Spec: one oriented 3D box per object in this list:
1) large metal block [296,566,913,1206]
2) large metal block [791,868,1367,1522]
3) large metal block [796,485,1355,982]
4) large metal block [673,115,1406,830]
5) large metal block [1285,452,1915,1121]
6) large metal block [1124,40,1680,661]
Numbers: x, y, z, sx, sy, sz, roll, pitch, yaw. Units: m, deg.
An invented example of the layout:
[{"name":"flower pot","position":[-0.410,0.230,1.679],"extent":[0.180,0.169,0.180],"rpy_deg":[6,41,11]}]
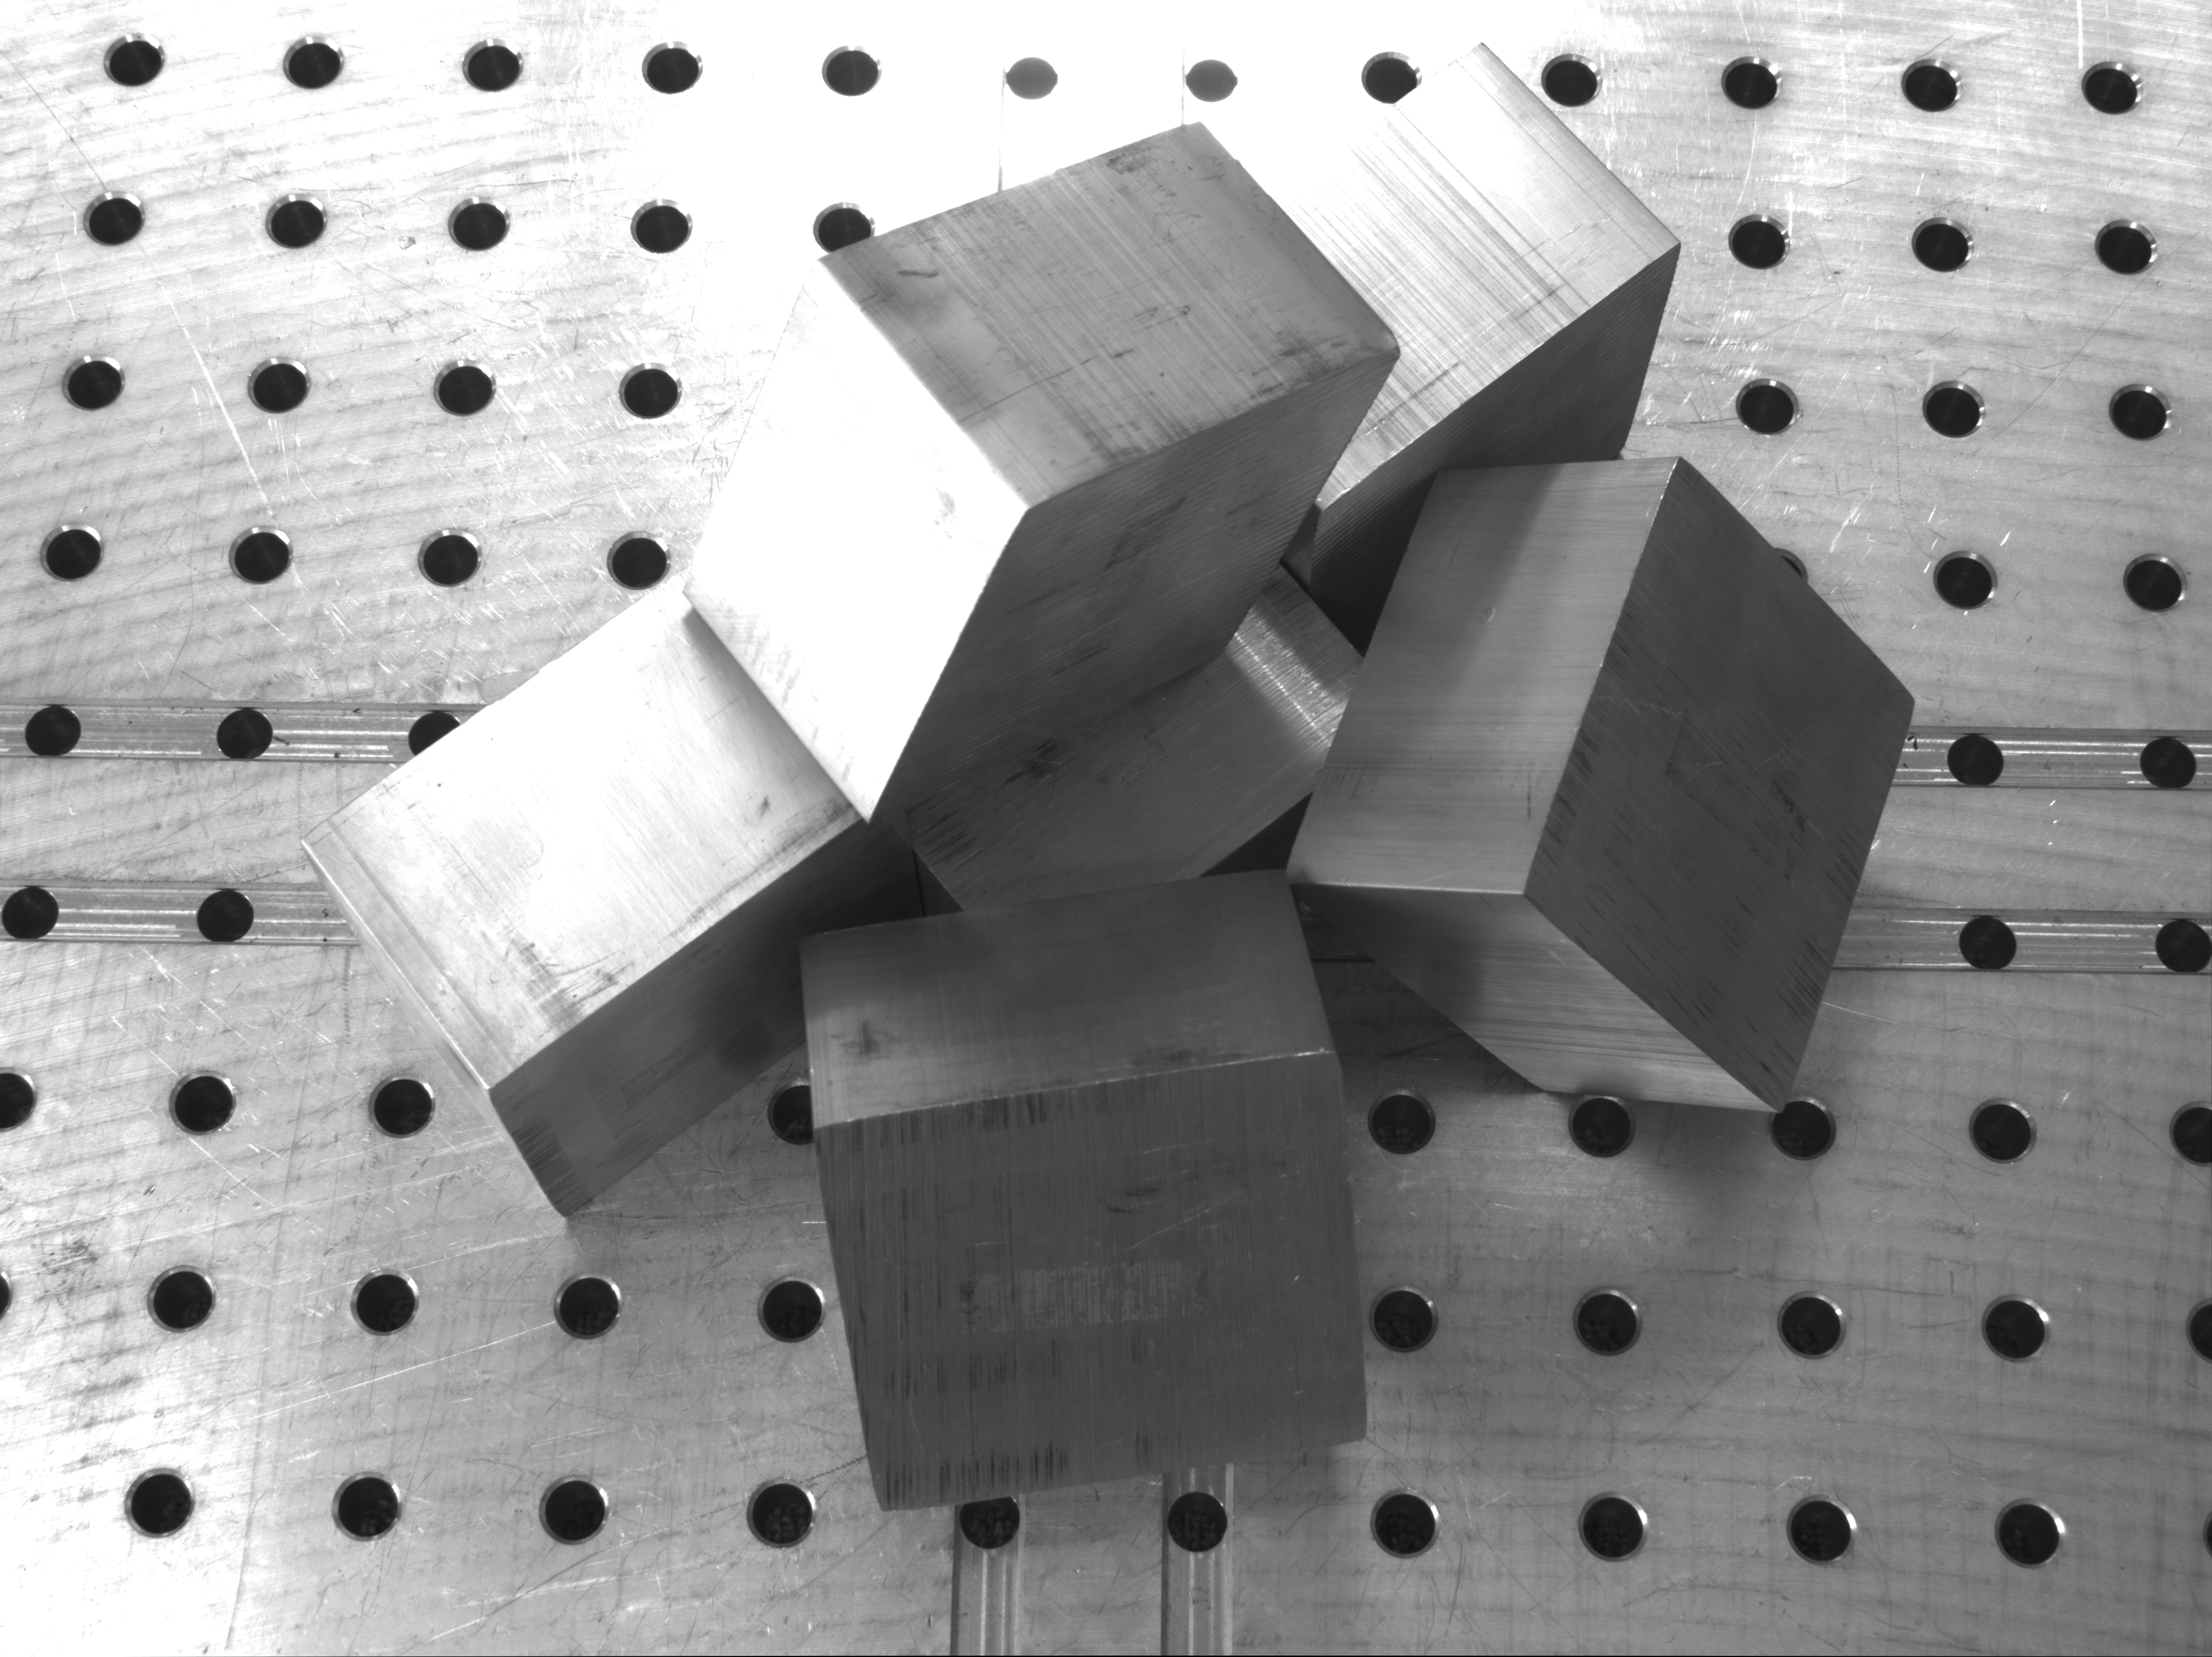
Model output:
[{"name":"large metal block","position":[-0.080,0.010,0.614],"extent":[0.080,0.080,0.050],"rpy_deg":[-36,74,-12]},{"name":"large metal block","position":[-0.004,0.059,0.590],"extent":[0.080,0.080,0.050],"rpy_deg":[-8,33,-3]},{"name":"large metal block","position":[-0.005,-0.015,0.642],"extent":[0.080,0.050,0.080],"rpy_deg":[-37,74,-12]},{"name":"large metal block","position":[-0.012,-0.056,0.572],"extent":[0.080,0.080,0.050],"rpy_deg":[-27,70,-36]},{"name":"large metal block","position":[0.083,-0.006,0.613],"extent":[0.050,0.080,0.080],"rpy_deg":[2,63,45]},{"name":"large metal block","position":[0.049,-0.079,0.647],"extent":[0.080,0.080,0.050],"rpy_deg":[-37,74,-13]}]
